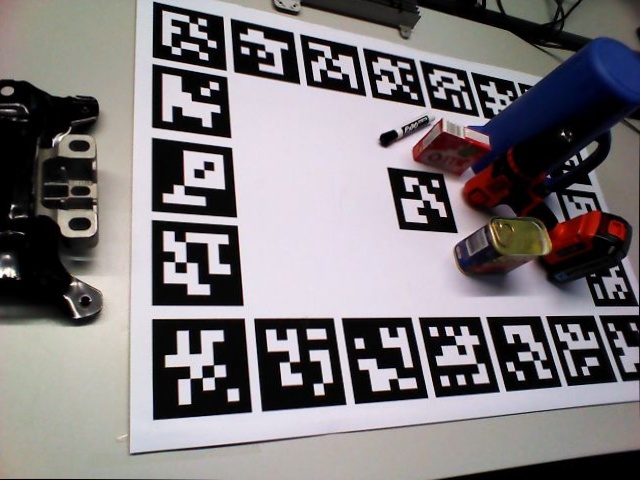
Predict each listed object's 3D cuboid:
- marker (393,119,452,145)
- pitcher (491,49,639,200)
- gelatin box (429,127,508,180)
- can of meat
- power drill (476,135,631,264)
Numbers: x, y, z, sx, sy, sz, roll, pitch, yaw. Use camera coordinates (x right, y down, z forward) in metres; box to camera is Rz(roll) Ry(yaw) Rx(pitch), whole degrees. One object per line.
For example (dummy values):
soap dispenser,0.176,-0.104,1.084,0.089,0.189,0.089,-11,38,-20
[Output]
marker,0.157,-0.170,0.794,0.120,0.020,0.019,-26,81,-31
pitcher,0.384,-0.153,0.771,0.189,0.244,0.132,30,61,-3
gelatin box,0.222,-0.127,0.776,0.089,0.074,0.030,14,66,-21
can of meat,0.271,0.021,0.720,0.101,0.084,0.057,2,65,-25
power drill,0.343,-0.052,0.733,0.187,0.186,0.057,38,59,-12
